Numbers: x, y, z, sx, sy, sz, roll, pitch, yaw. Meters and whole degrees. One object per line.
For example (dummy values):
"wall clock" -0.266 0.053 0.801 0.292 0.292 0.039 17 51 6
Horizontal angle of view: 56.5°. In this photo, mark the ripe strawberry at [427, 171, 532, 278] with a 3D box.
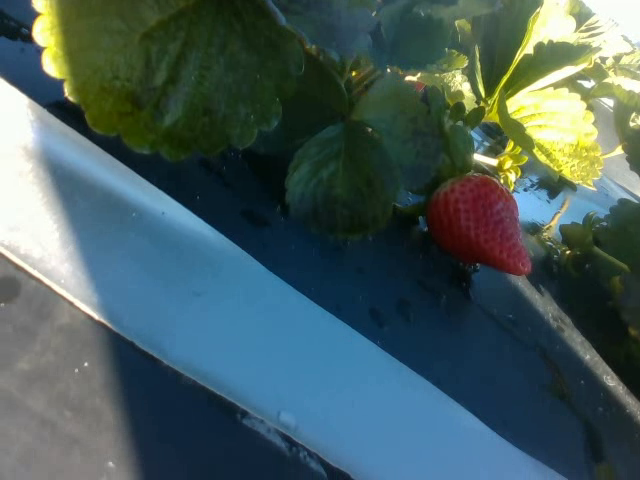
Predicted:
"ripe strawberry" 0.069 -0.004 0.242 0.045 0.059 0.042 -18 -32 -9
